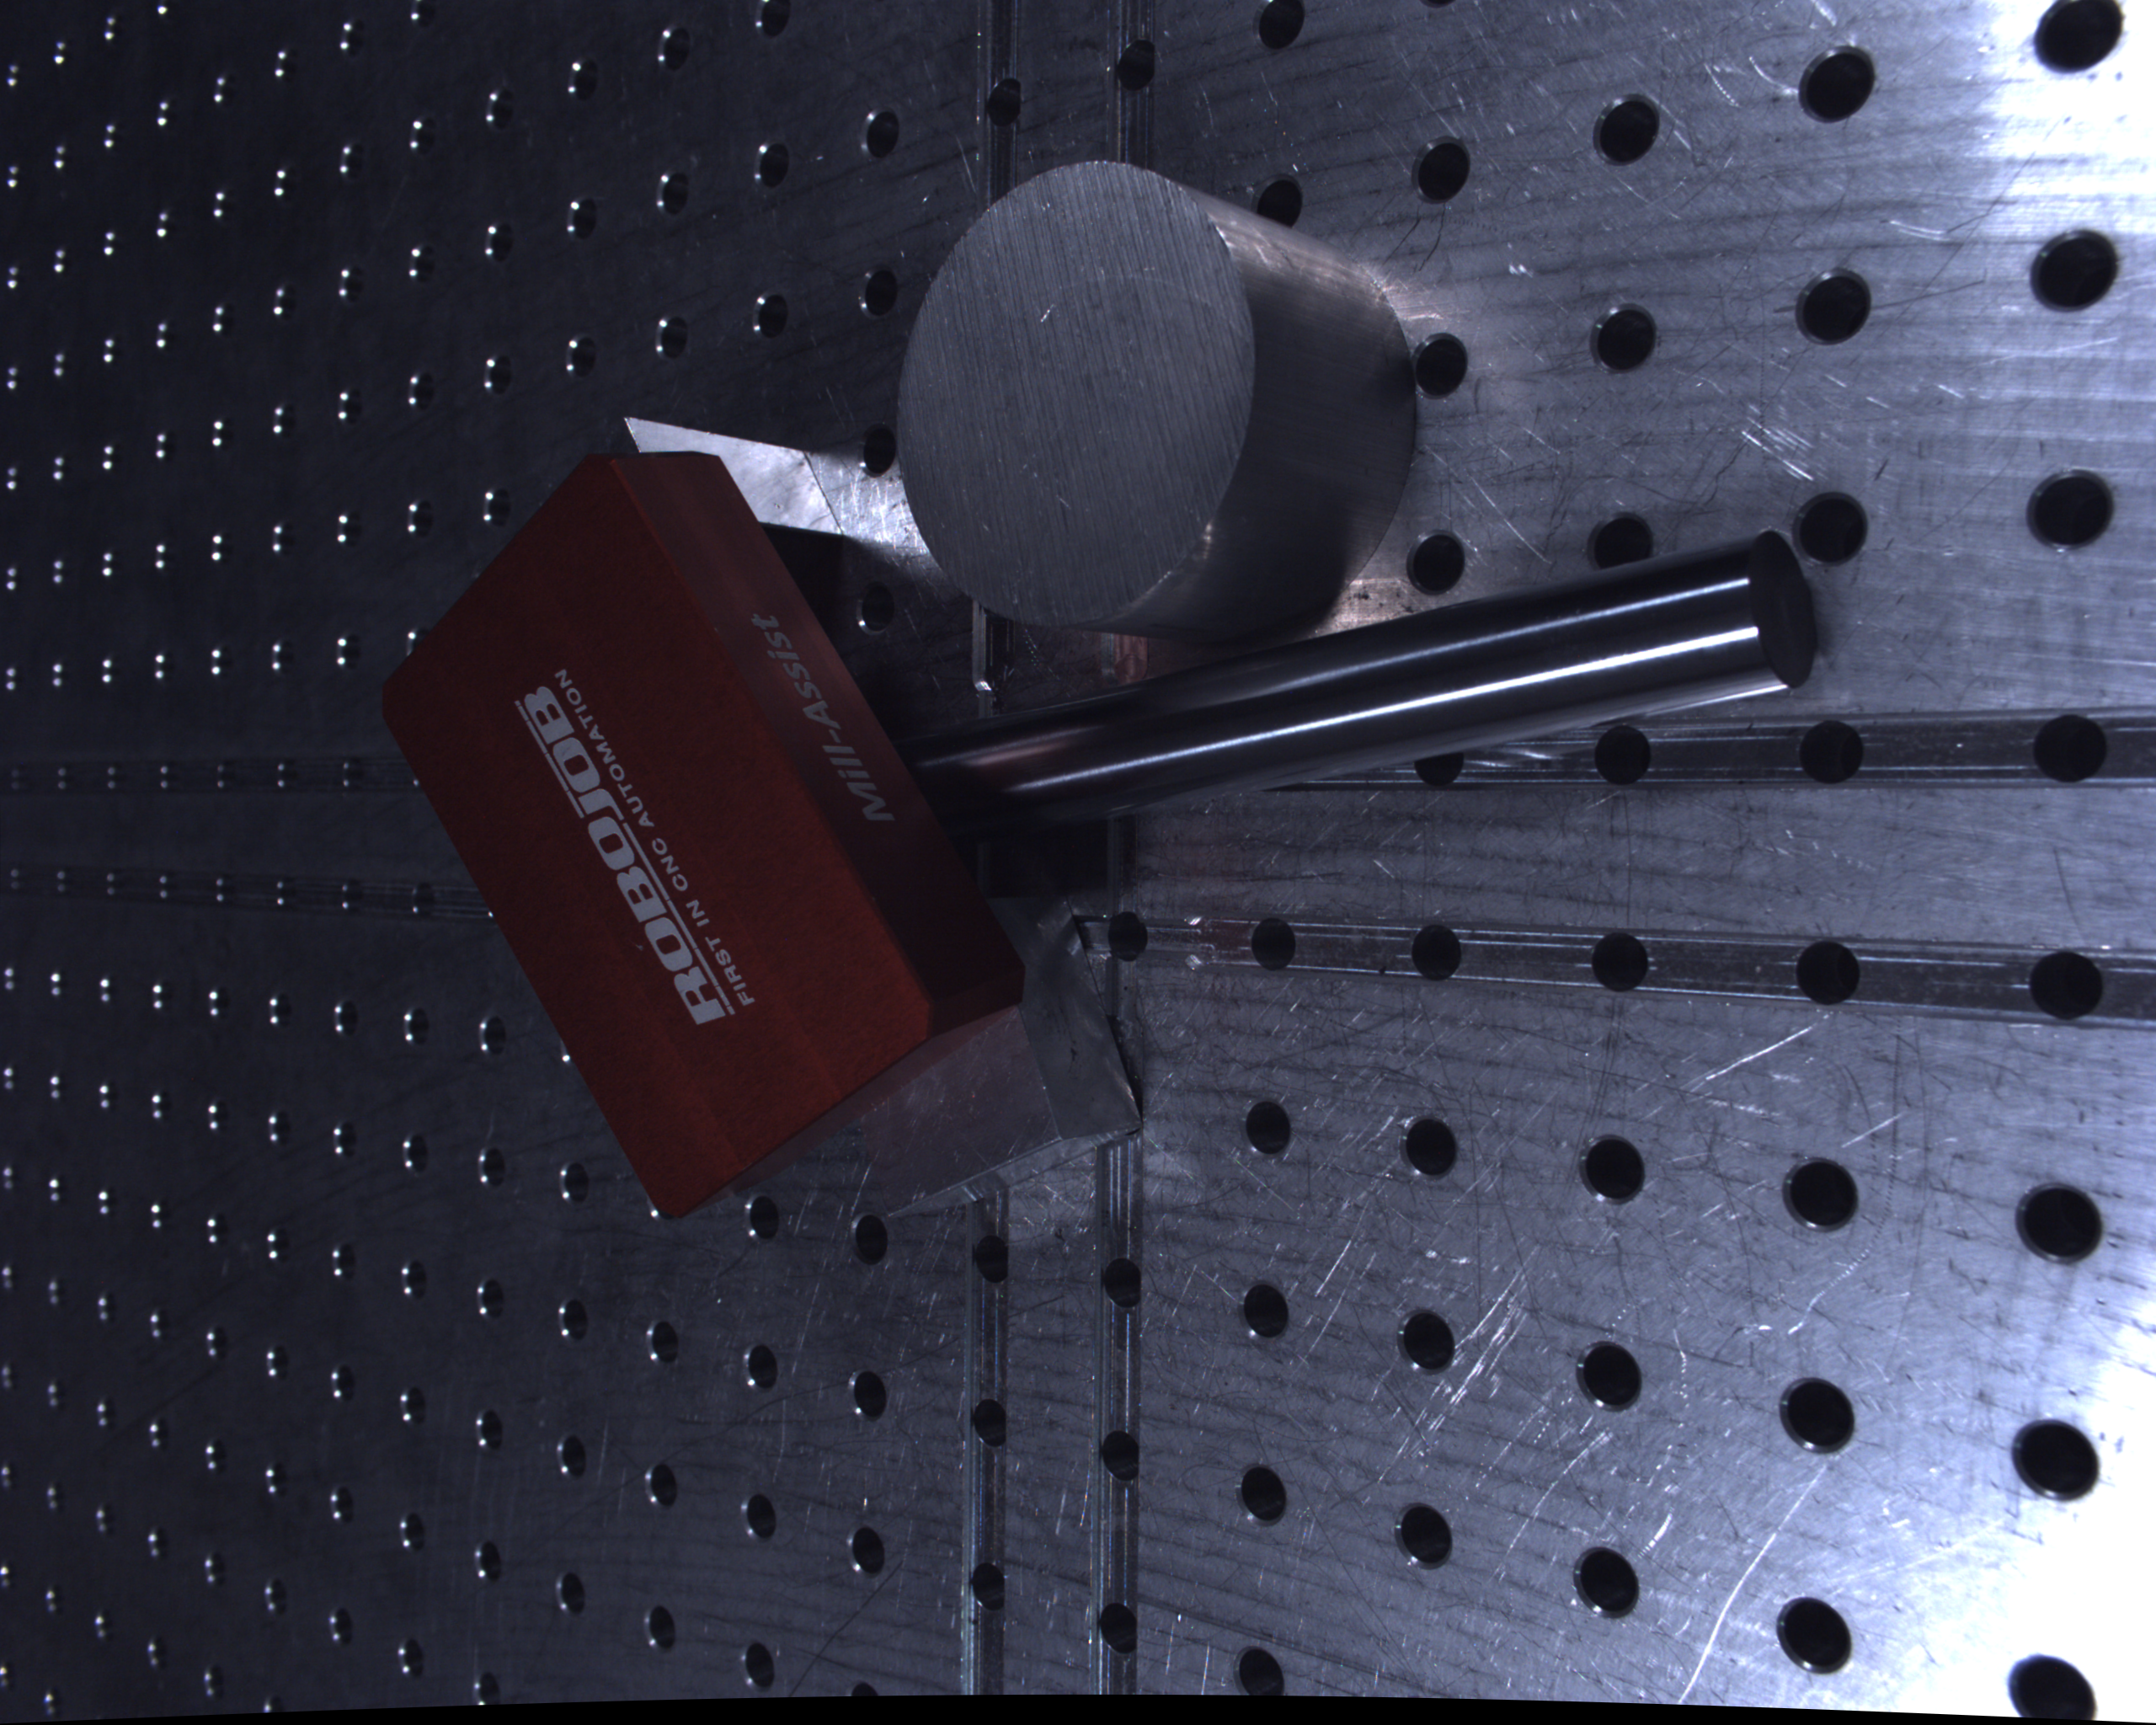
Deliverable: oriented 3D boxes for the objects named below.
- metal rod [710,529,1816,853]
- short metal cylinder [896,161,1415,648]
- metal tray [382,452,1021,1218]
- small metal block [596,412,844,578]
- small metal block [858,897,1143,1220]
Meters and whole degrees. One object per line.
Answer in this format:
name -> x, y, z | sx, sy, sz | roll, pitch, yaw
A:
metal rod -> -0.007, -0.019, 0.413 | 0.300, 0.025, 0.025 | -10, 84, 39
short metal cylinder -> 0.013, -0.081, 0.379 | 0.080, 0.050, 0.079 | 0, 90, 39
metal tray -> -0.079, -0.006, 0.418 | 0.090, 0.030, 0.130 | -37, 79, 34
small metal block -> -0.090, -0.071, 0.464 | 0.050, 0.050, 0.025 | -39, 67, 33
small metal block -> -0.021, 0.040, 0.423 | 0.050, 0.025, 0.050 | -29, 72, 36
